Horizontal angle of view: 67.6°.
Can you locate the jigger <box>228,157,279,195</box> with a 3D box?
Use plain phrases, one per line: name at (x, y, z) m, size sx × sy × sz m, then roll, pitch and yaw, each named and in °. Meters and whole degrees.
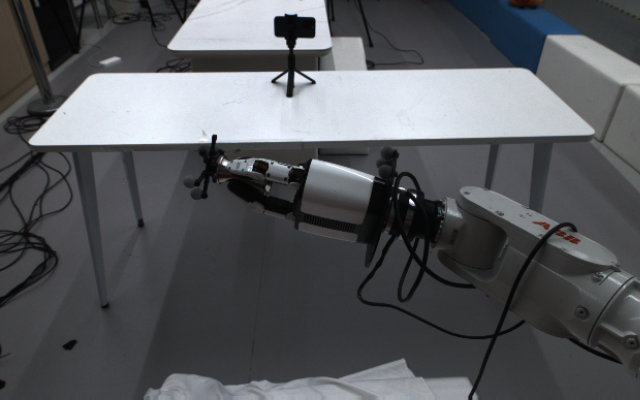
jigger at (-0.093, -0.036, 0.648) m, size 0.071 × 0.043 × 0.043 m, roll 13°, pitch 36°, yaw 4°
